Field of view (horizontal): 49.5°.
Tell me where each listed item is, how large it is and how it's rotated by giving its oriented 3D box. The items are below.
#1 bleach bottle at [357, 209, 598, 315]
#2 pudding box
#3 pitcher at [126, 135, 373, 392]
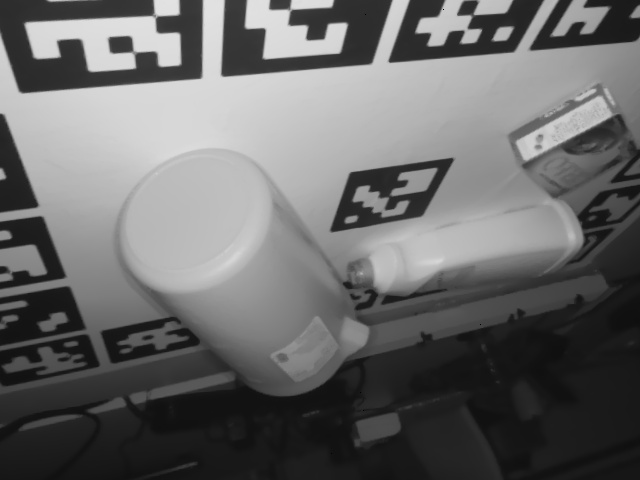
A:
[{"bbox_3d":[0.165,0.032,0.756,0.253,0.068,0.101,-9,143,-12],"label":"bleach bottle"},{"bbox_3d":[0.243,-0.079,0.636,0.089,0.039,0.115,-28,147,26],"label":"pudding box"},{"bbox_3d":[-0.067,0.023,0.589,0.187,0.134,0.242,8,152,24],"label":"pitcher"}]
